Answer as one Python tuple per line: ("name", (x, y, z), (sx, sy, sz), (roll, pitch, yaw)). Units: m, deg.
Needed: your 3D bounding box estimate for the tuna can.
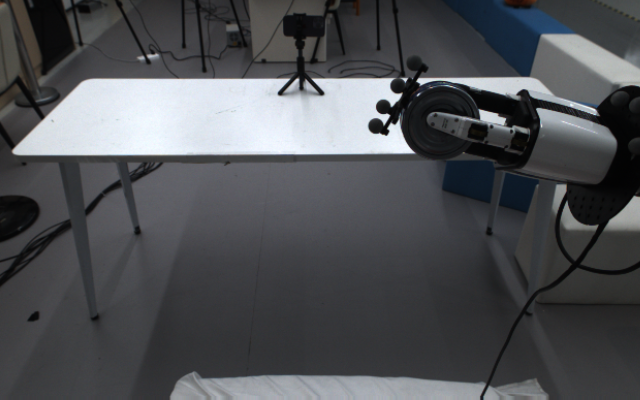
("tuna can", (0.137, -0.093, 0.549), (0.085, 0.085, 0.034), (3, 20, 1))
